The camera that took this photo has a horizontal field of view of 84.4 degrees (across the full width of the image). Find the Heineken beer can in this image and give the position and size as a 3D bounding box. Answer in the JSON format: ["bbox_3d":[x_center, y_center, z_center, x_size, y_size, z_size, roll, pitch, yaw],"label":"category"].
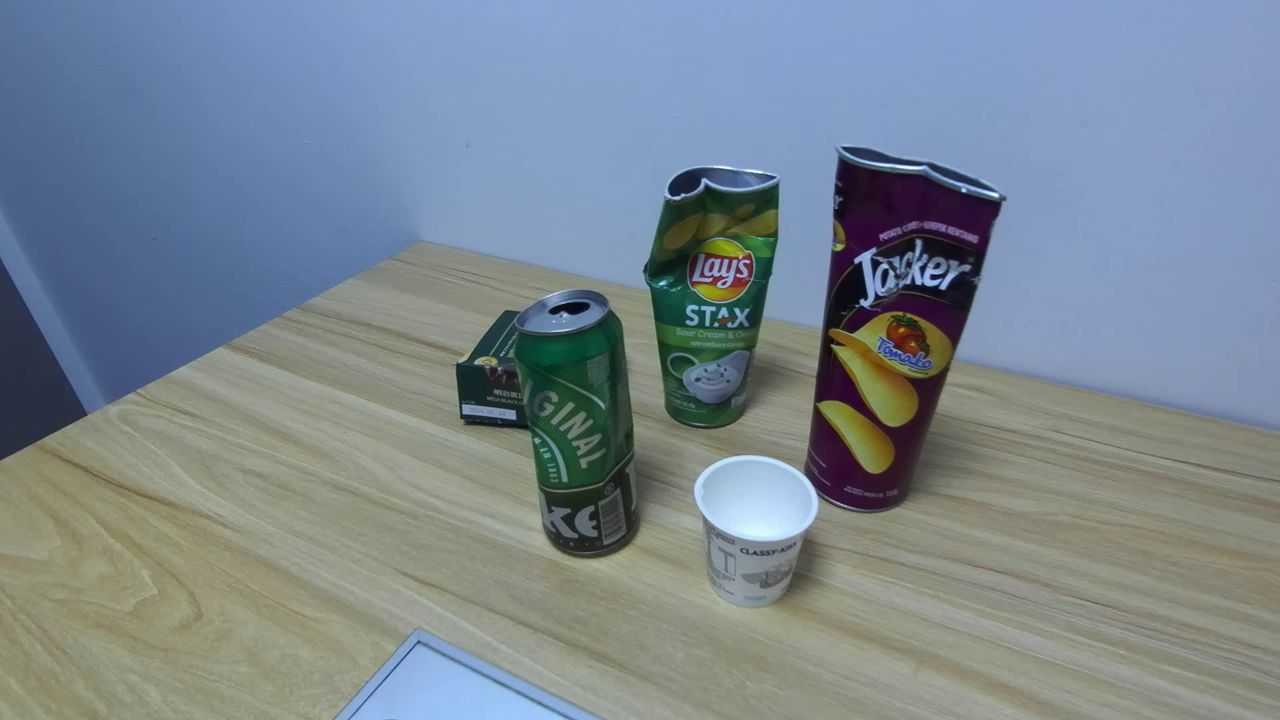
[{"bbox_3d":[-0.038,0.044,0.447,0.068,0.168,0.069,-16,31,-18],"label":"Heineken beer can"}]

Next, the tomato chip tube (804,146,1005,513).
[{"bbox_3d":[0.156,-0.012,0.460,0.078,0.236,0.090,3,35,8],"label":"tomato chip tube"}]

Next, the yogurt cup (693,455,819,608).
[{"bbox_3d":[0.070,0.107,0.432,0.072,0.068,0.072,-1,34,1],"label":"yogurt cup"}]

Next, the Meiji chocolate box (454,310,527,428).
[{"bbox_3d":[-0.095,0.006,0.655,0.122,0.058,0.116,7,34,9],"label":"Meiji chocolate box"}]

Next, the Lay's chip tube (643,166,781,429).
[{"bbox_3d":[0.053,-0.046,0.545,0.077,0.201,0.069,-25,40,-29],"label":"Lay's chip tube"}]
